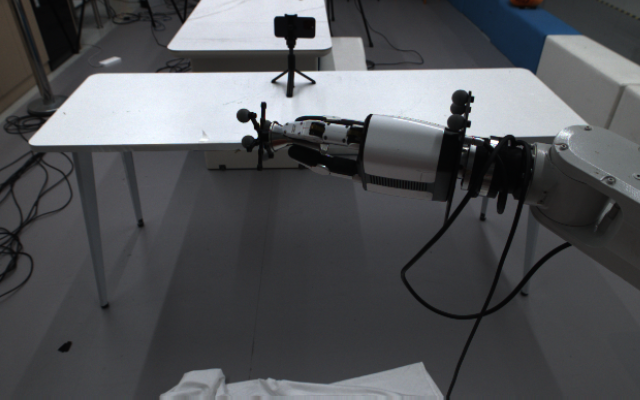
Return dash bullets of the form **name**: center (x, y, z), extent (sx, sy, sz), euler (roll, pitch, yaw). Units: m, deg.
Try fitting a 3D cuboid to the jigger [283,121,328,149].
- **jigger**: center (-0.019, -0.084, 0.614), extent (0.071, 0.043, 0.043), euler (2, 34, 16)
